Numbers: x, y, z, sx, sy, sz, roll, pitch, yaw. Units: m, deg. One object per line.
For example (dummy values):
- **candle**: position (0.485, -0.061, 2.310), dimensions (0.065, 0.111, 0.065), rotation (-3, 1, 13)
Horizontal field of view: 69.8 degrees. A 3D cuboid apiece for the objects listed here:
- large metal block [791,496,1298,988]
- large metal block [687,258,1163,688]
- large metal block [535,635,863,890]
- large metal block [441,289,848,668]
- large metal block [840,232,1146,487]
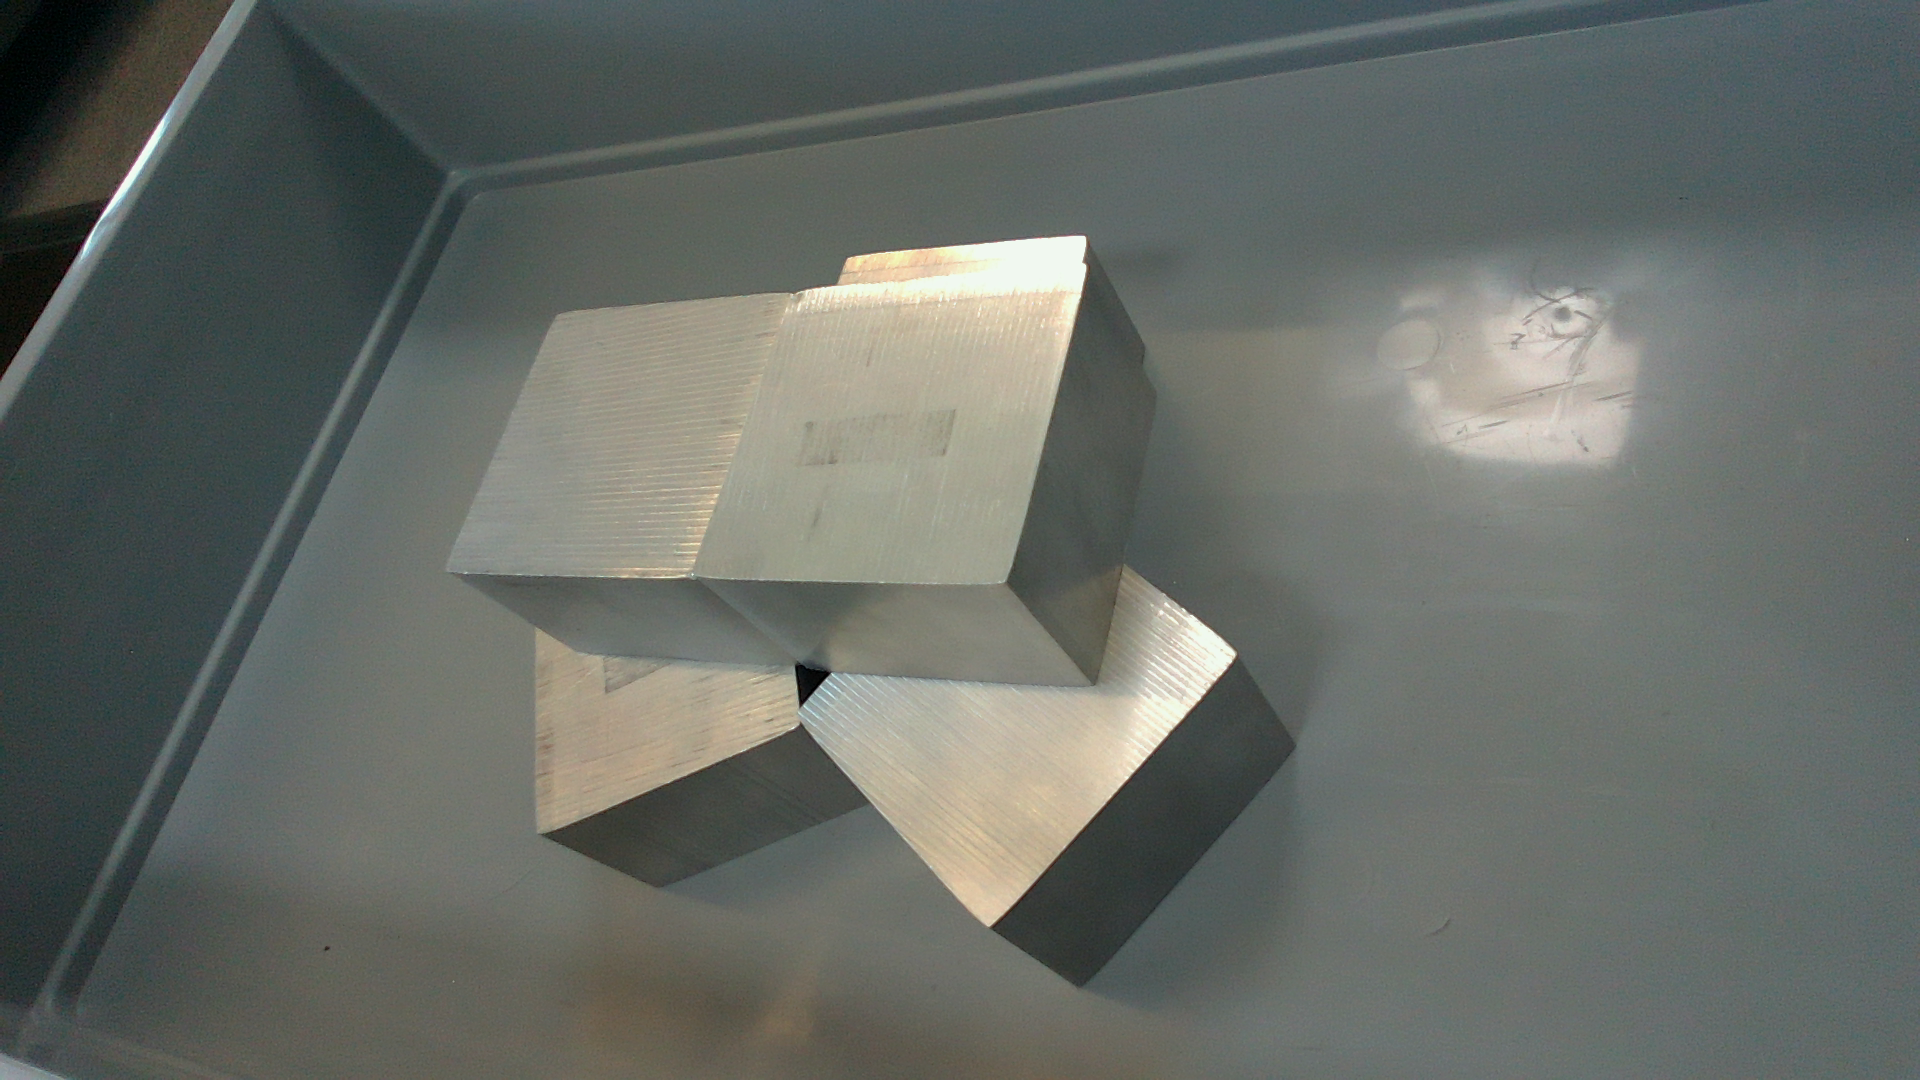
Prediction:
- **large metal block**: position (0.020, 0.046, 0.336), dimensions (0.080, 0.050, 0.080), rotation (-47, 50, -5)
- **large metal block**: position (-0.005, -0.015, 0.321), dimensions (0.080, 0.050, 0.080), rotation (1, 62, 29)
- **large metal block**: position (-0.071, 0.041, 0.389), dimensions (0.080, 0.050, 0.080), rotation (-24, 53, 14)
- **large metal block**: position (-0.075, -0.015, 0.361), dimensions (0.080, 0.050, 0.080), rotation (1, 62, 29)
- **large metal block**: position (0.001, -0.038, 0.399), dimensions (0.080, 0.050, 0.080), rotation (1, 62, 29)
